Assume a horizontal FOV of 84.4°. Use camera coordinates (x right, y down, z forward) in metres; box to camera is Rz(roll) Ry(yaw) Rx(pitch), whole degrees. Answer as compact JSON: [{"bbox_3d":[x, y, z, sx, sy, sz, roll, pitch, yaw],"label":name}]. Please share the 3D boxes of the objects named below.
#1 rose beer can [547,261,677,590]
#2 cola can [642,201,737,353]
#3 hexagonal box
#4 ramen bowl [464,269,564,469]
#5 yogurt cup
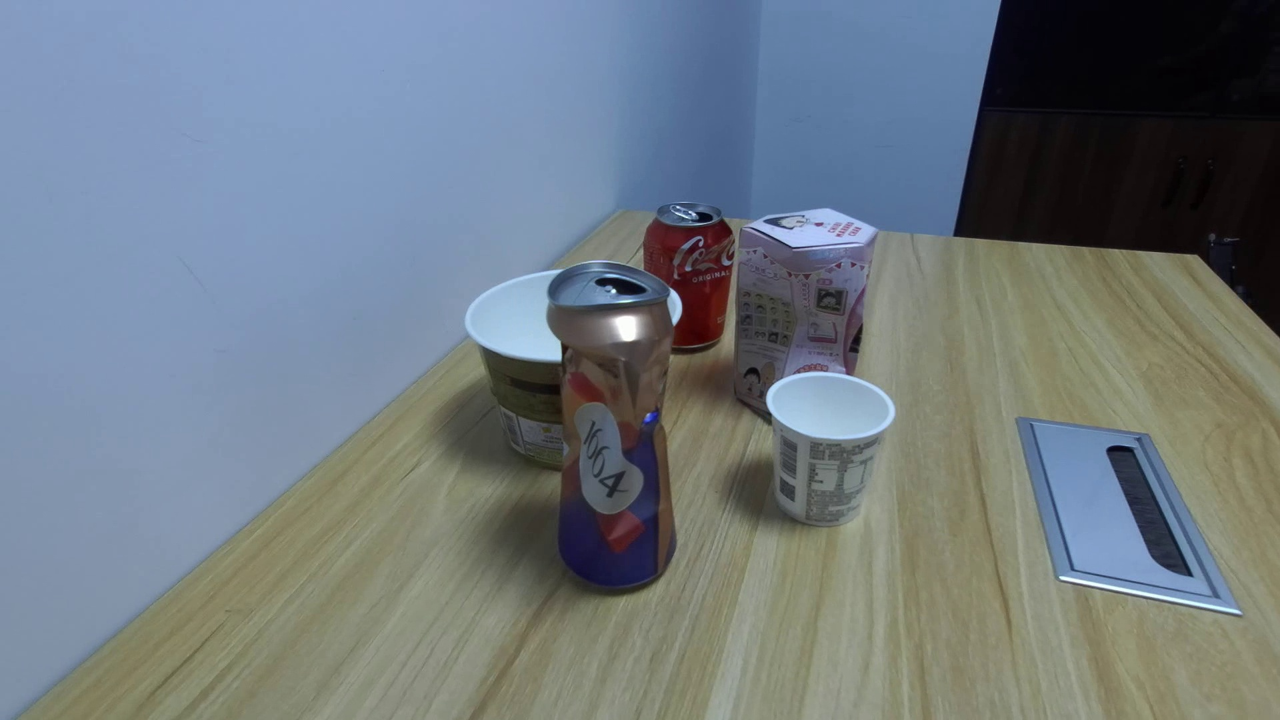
[{"bbox_3d":[-0.015,0.037,0.356,0.073,0.162,0.068,14,31,24],"label":"rose beer can"},{"bbox_3d":[0.039,-0.071,0.591,0.067,0.117,0.065,-27,40,-36],"label":"cola can"},{"bbox_3d":[0.113,-0.029,0.495,0.093,0.135,0.088,-4,29,-8],"label":"hexagonal box"},{"bbox_3d":[-0.040,0.007,0.483,0.140,0.095,0.140,-2,29,1],"label":"ramen bowl"},{"bbox_3d":[0.106,0.053,0.411,0.072,0.068,0.072,-1,30,1],"label":"yogurt cup"}]
